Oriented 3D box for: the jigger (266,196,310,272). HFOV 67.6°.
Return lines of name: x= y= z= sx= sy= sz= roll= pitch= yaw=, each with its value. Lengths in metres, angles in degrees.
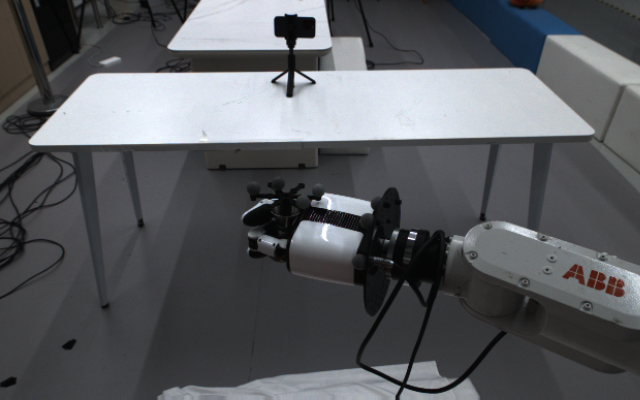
jigger: x=-0.042 y=0.041 z=0.635 sx=0.043 sy=0.071 sz=0.043 roll=3 pitch=25 yaw=-1
